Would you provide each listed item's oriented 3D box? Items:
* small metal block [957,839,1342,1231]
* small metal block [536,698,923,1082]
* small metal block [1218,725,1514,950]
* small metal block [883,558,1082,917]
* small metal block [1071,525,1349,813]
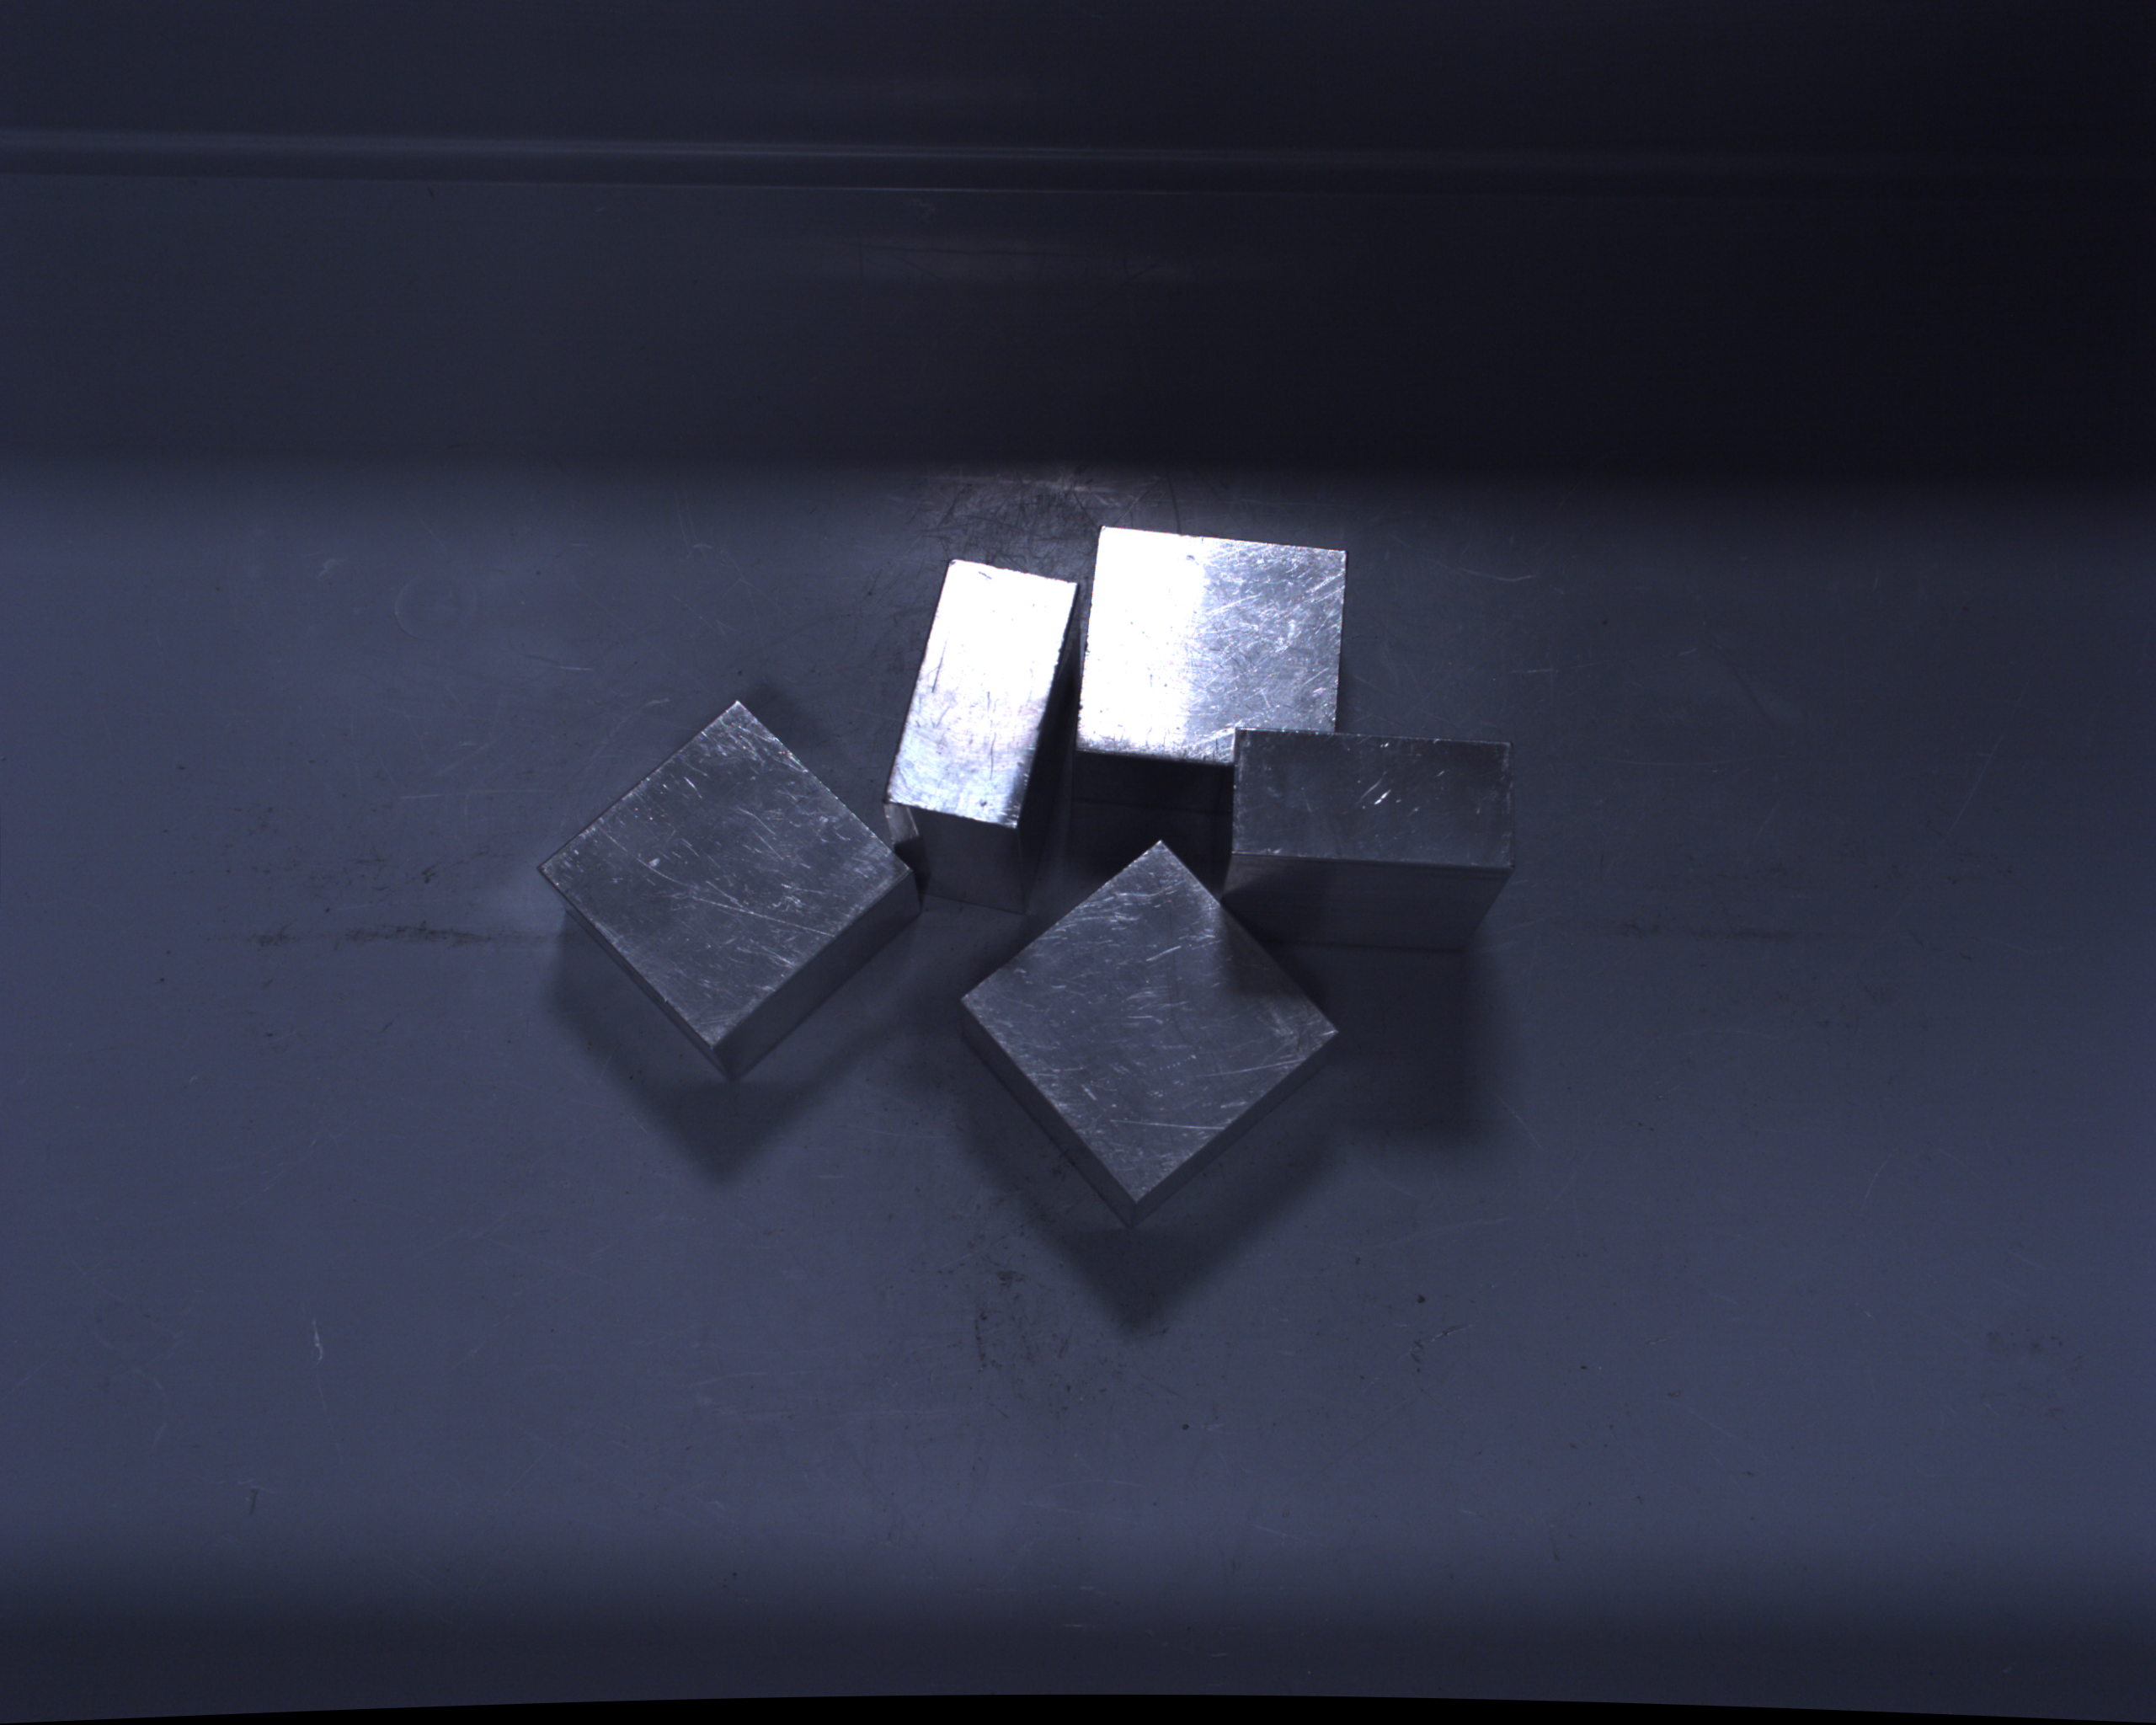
[{"bbox_3d":[0.013,0.033,0.395,0.050,0.025,0.050,-39,75,-13],"label":"small metal block"},{"bbox_3d":[-0.067,0.005,0.405,0.050,0.025,0.050,-43,76,-14],"label":"small metal block"},{"bbox_3d":[0.052,-0.003,0.396,0.050,0.050,0.025,3,70,1],"label":"small metal block"},{"bbox_3d":[-0.017,-0.023,0.402,0.025,0.050,0.050,12,71,4],"label":"small metal block"},{"bbox_3d":[0.026,-0.038,0.422,0.050,0.025,0.050,6,70,2],"label":"small metal block"}]
